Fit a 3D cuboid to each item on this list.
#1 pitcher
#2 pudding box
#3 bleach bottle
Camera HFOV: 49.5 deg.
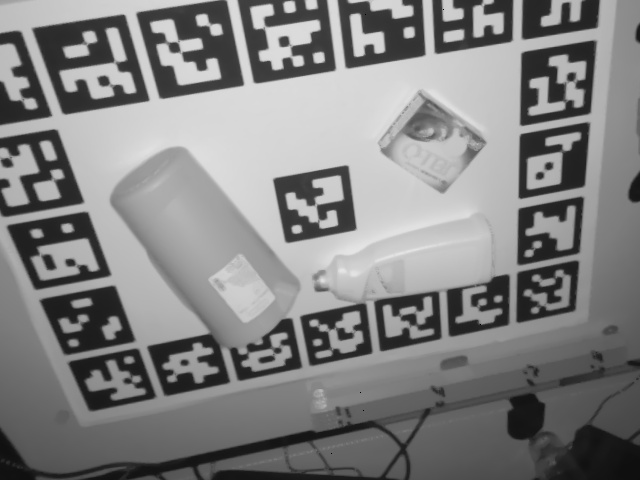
[{"bbox_3d":[-0.152,0.001,0.870,0.185,0.135,0.243,-16,120,41],"label":"pitcher"},{"bbox_3d":[0.149,-0.130,0.873,0.114,0.039,0.089,32,115,-20],"label":"pudding box"},{"bbox_3d":[0.119,0.034,0.947,0.251,0.068,0.102,-13,115,1],"label":"bleach bottle"}]
